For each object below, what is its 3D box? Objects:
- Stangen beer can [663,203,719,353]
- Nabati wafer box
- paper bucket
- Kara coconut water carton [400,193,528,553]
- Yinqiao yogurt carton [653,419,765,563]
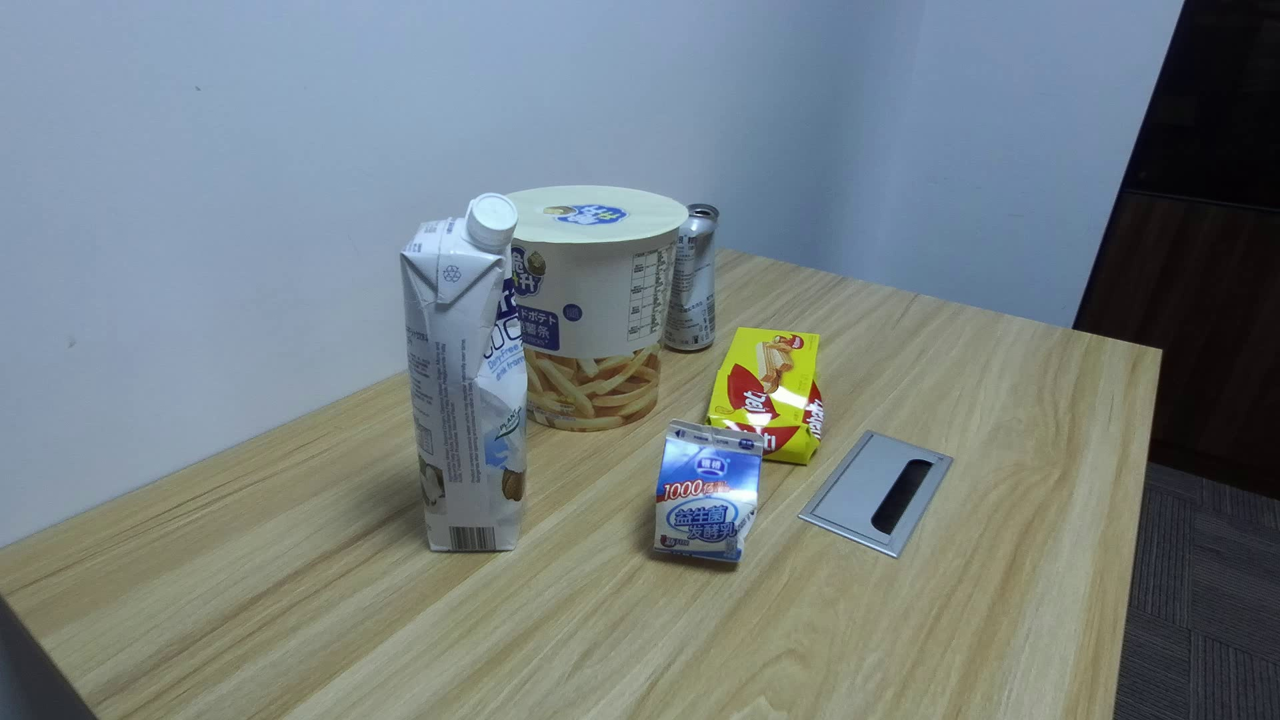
[{"bbox_3d":[0.059,-0.092,0.806,0.066,0.162,0.077,-4,26,-13],"label":"Stangen beer can"},{"bbox_3d":[0.132,0.031,0.708,0.106,0.042,0.204,7,29,14],"label":"Nabati wafer box"},{"bbox_3d":[-0.053,-0.050,0.687,0.198,0.195,0.198,1,28,0],"label":"paper bucket"},{"bbox_3d":[-0.119,0.014,0.492,0.078,0.255,0.083,8,27,9],"label":"Kara coconut water carton"},{"bbox_3d":[0.052,0.092,0.520,0.074,0.097,0.080,7,20,7],"label":"Yinqiao yogurt carton"}]
